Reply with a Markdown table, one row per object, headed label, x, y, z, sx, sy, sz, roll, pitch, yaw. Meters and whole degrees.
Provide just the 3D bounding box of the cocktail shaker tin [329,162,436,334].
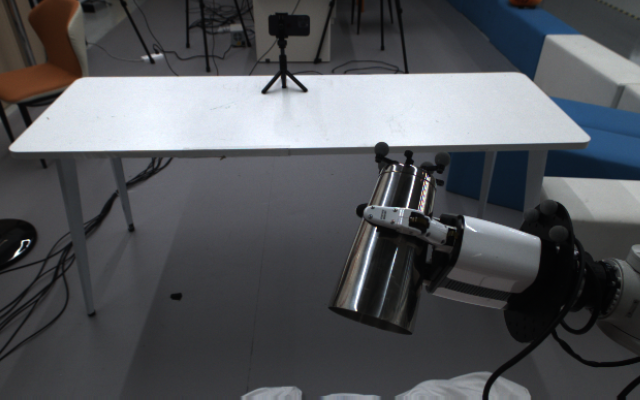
| label | x | y | z | sx | sy | sz | roll | pitch | yaw |
| --- | --- | --- | --- | --- | --- | --- | --- | --- | --- |
| cocktail shaker tin | 0.077 | 0.049 | 0.529 | 0.093 | 0.093 | 0.170 | 13 | 70 | 15 |
